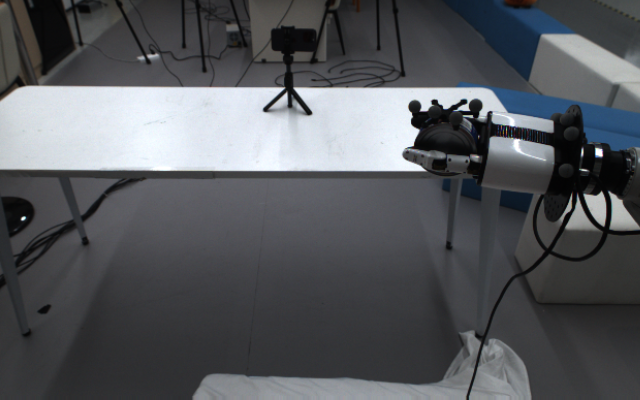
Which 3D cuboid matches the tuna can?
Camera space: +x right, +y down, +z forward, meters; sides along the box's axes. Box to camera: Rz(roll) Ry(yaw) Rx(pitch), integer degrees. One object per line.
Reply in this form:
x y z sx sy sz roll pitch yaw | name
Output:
0.178 -0.079 0.680 0.085 0.085 0.034 14 41 16 | tuna can
